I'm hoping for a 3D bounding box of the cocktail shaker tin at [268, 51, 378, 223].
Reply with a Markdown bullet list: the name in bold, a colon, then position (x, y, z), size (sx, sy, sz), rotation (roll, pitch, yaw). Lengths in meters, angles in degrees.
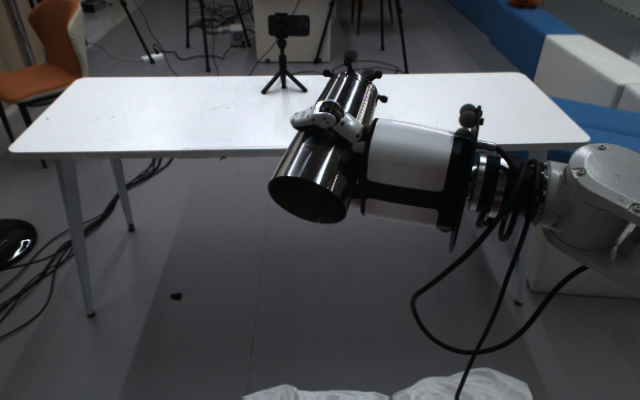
- **cocktail shaker tin**: position (0.013, -0.067, 0.565), size (0.093, 0.093, 0.170), rotation (14, 61, 17)
